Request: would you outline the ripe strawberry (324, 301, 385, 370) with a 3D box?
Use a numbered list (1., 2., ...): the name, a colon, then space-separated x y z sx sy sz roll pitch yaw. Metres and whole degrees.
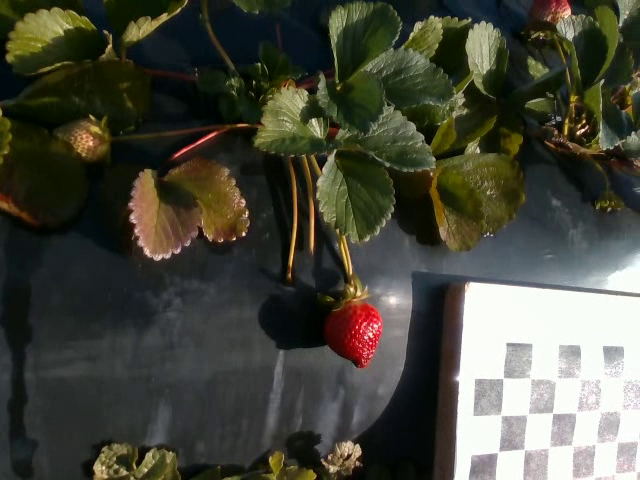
1. ripe strawberry: 0.020 0.056 0.332 0.040 0.044 0.037 -15 -7 -25
